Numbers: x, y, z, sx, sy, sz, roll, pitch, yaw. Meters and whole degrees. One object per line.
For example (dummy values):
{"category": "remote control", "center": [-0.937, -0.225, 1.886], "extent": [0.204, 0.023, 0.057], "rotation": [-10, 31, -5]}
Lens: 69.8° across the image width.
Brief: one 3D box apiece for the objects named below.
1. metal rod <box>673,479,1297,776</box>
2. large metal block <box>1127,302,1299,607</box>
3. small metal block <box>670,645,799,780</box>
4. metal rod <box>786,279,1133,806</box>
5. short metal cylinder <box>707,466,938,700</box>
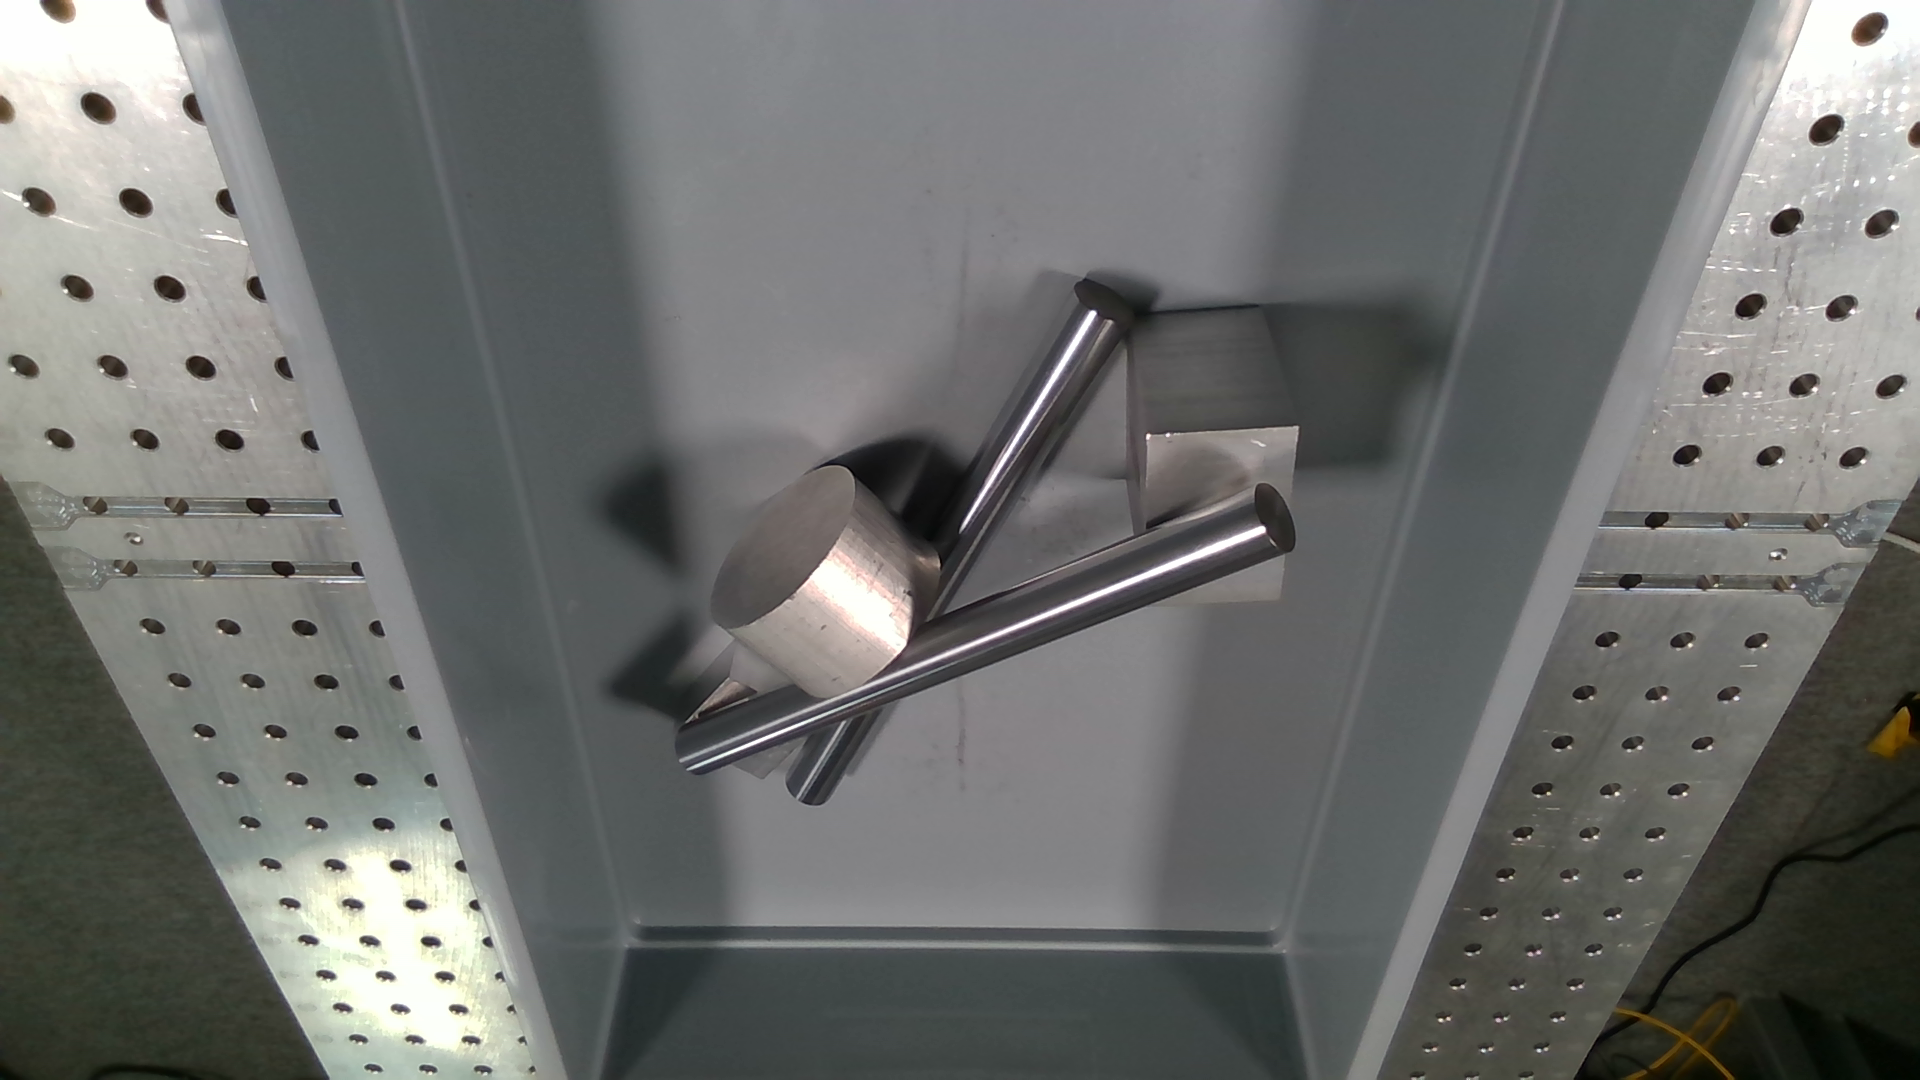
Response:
{"category": "metal rod", "center": [-0.008, 0.043, 0.538], "extent": [0.300, 0.025, 0.025], "rotation": [-25, 127, 35]}
{"category": "large metal block", "center": [0.091, -0.032, 0.516], "extent": [0.050, 0.080, 0.080], "rotation": [-3, 130, 2]}
{"category": "small metal block", "center": [-0.100, 0.080, 0.645], "extent": [0.050, 0.025, 0.050], "rotation": [31, 124, -23]}
{"category": "metal rod", "center": [-0.011, 0.016, 0.592], "extent": [0.025, 0.025, 0.301], "rotation": [20, 127, -16]}
{"category": "short metal cylinder", "center": [-0.056, 0.017, 0.555], "extent": [0.080, 0.080, 0.050], "rotation": [-33, 123, 24]}
